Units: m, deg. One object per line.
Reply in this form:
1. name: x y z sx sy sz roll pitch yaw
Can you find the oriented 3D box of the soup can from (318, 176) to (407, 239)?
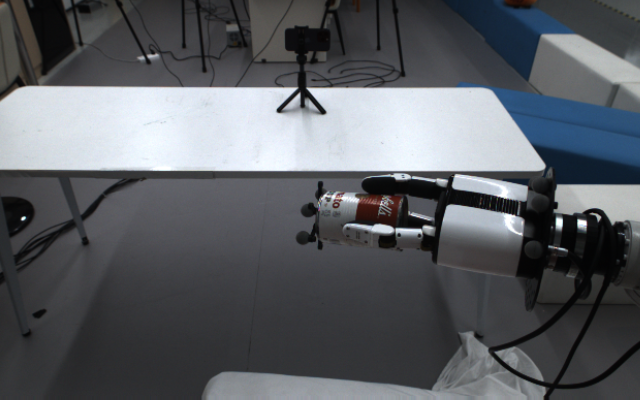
1. soup can: 0.056 0.024 0.597 0.101 0.067 0.067 4 34 19
